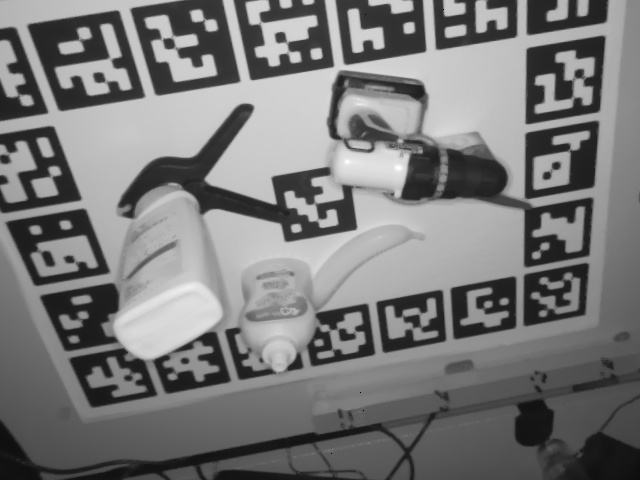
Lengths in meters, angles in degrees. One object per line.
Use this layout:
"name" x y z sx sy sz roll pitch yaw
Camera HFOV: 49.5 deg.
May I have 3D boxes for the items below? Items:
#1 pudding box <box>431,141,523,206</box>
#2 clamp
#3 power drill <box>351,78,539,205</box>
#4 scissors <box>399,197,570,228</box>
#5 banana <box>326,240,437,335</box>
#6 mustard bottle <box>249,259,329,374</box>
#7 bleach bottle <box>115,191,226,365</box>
"pudding box" 0.179 -0.080 0.835 0.114 0.090 0.038 -5 127 -2
"clamp" -0.136 -0.054 0.829 0.202 0.037 0.164 -14 118 4
"power drill" 0.115 -0.103 0.725 0.186 0.188 0.057 2 127 -10
"scissors" 0.194 -0.042 0.783 0.204 0.016 0.087 15 113 -9
"banana" 0.066 0.059 0.925 0.195 0.039 0.075 -44 131 17
"mustard bottle" -0.039 0.096 0.859 0.097 0.192 0.058 4 120 -6
"bleach bottle" -0.161 0.018 0.746 0.102 0.251 0.068 -28 123 3
